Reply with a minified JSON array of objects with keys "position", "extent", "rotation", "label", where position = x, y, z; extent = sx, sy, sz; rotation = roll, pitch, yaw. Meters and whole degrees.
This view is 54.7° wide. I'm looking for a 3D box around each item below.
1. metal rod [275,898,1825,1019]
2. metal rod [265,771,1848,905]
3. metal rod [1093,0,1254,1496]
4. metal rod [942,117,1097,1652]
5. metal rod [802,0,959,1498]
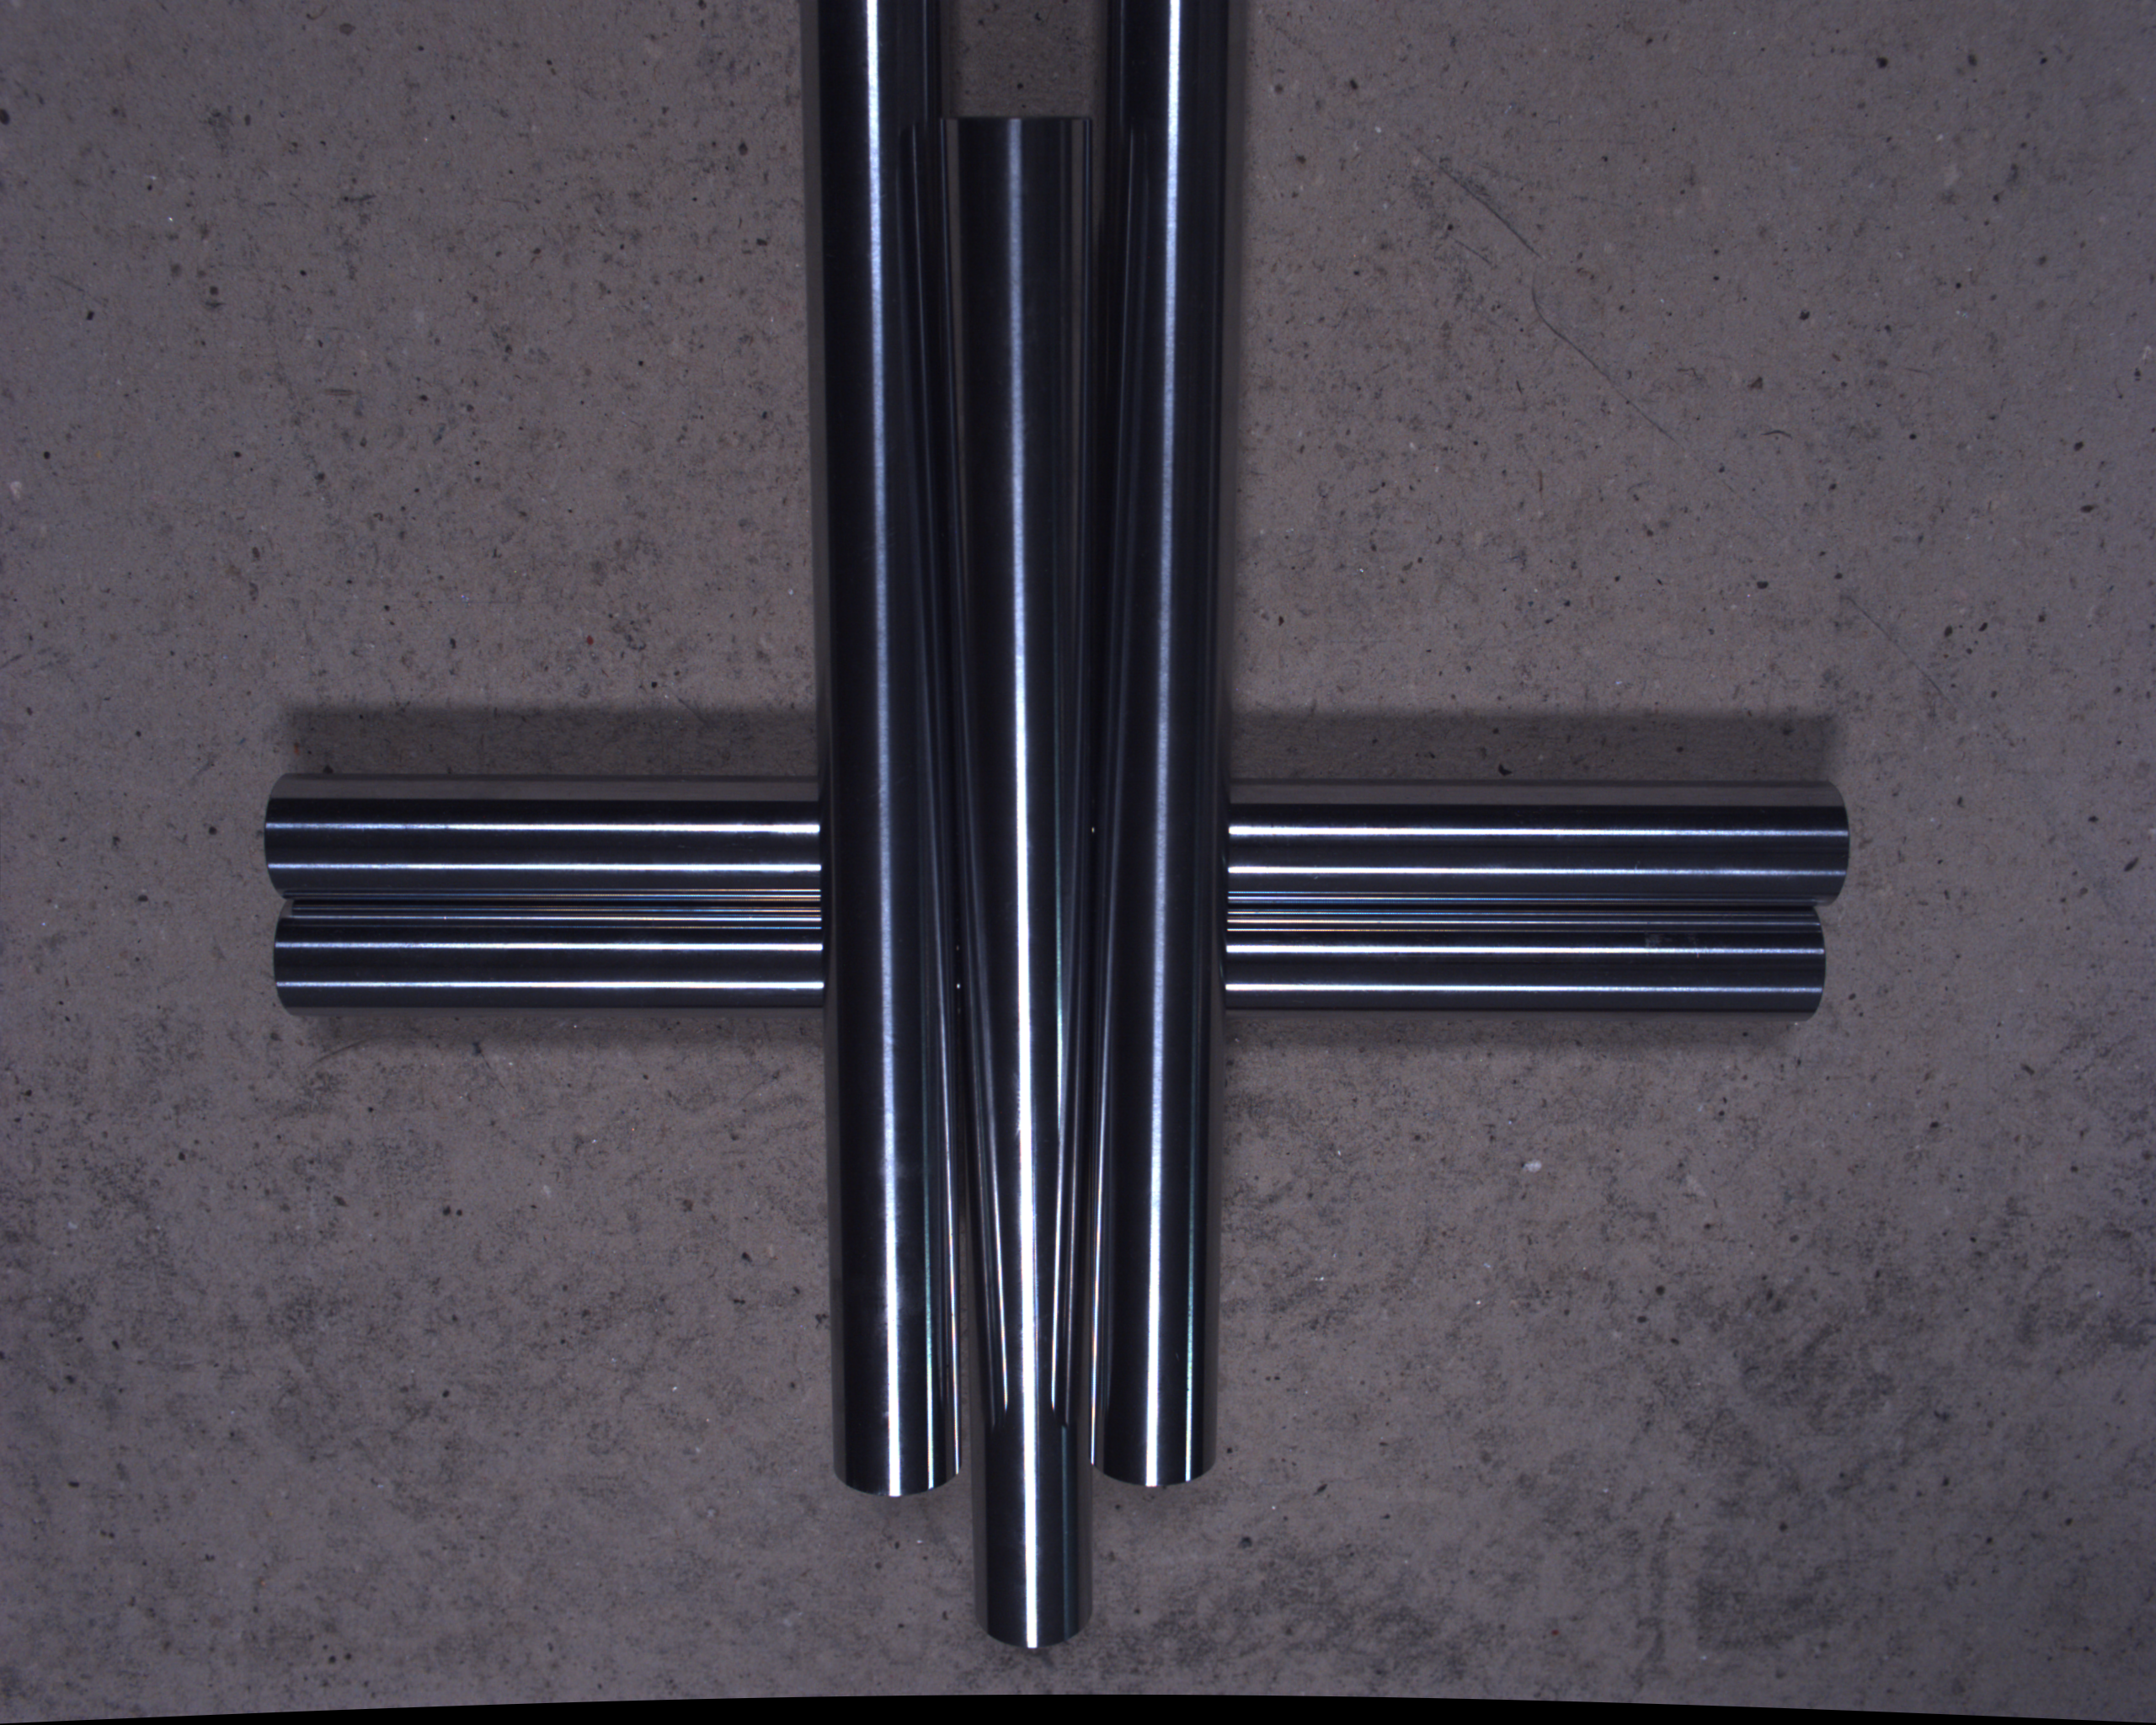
[{"position":[-0.005,0.019,0.419],"extent":[0.302,0.025,0.025],"rotation":[0,110,-1],"label":"metal rod"},{"position":[-0.003,-0.005,0.410],"extent":[0.302,0.025,0.025],"rotation":[0,110,-1],"label":"metal rod"},{"position":[0.017,-0.028,0.378],"extent":[0.025,0.025,0.298],"rotation":[0,102,-1],"label":"metal rod"},{"position":[-0.009,0.018,0.390],"extent":[0.025,0.025,0.298],"rotation":[0,110,0],"label":"metal rod"},{"position":[-0.035,-0.027,0.378],"extent":[0.025,0.025,0.298],"rotation":[0,102,-1],"label":"metal rod"}]
